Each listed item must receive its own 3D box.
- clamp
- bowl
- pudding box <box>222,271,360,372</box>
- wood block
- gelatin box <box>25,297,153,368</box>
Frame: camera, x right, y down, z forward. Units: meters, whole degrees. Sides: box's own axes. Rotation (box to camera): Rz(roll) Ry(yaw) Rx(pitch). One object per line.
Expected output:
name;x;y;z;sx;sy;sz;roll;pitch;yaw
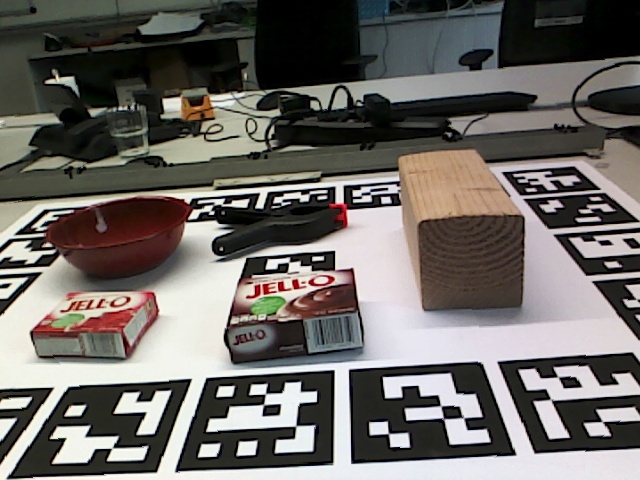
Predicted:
clamp;-0.071;-0.016;0.755;0.165;0.036;0.122;-8;25;-8
bowl;-0.233;0.005;0.721;0.162;0.055;0.162;-4;28;2
pudding box;-0.024;0.070;0.545;0.114;0.038;0.090;-7;29;4
wood block;0.132;-0.017;0.629;0.090;0.091;0.206;-3;26;5
gelatin box;-0.209;0.082;0.568;0.089;0.030;0.073;-1;28;10
